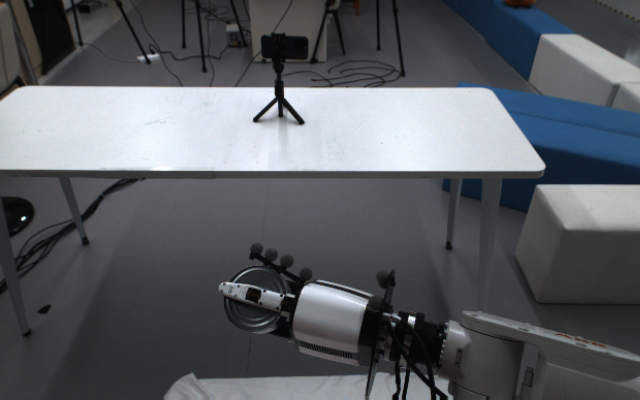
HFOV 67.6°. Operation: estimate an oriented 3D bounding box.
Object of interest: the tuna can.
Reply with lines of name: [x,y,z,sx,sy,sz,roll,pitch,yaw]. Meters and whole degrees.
tuna can: [-0.079,0.130,0.637,0.085,0.034,0.085,-4,67,10]
